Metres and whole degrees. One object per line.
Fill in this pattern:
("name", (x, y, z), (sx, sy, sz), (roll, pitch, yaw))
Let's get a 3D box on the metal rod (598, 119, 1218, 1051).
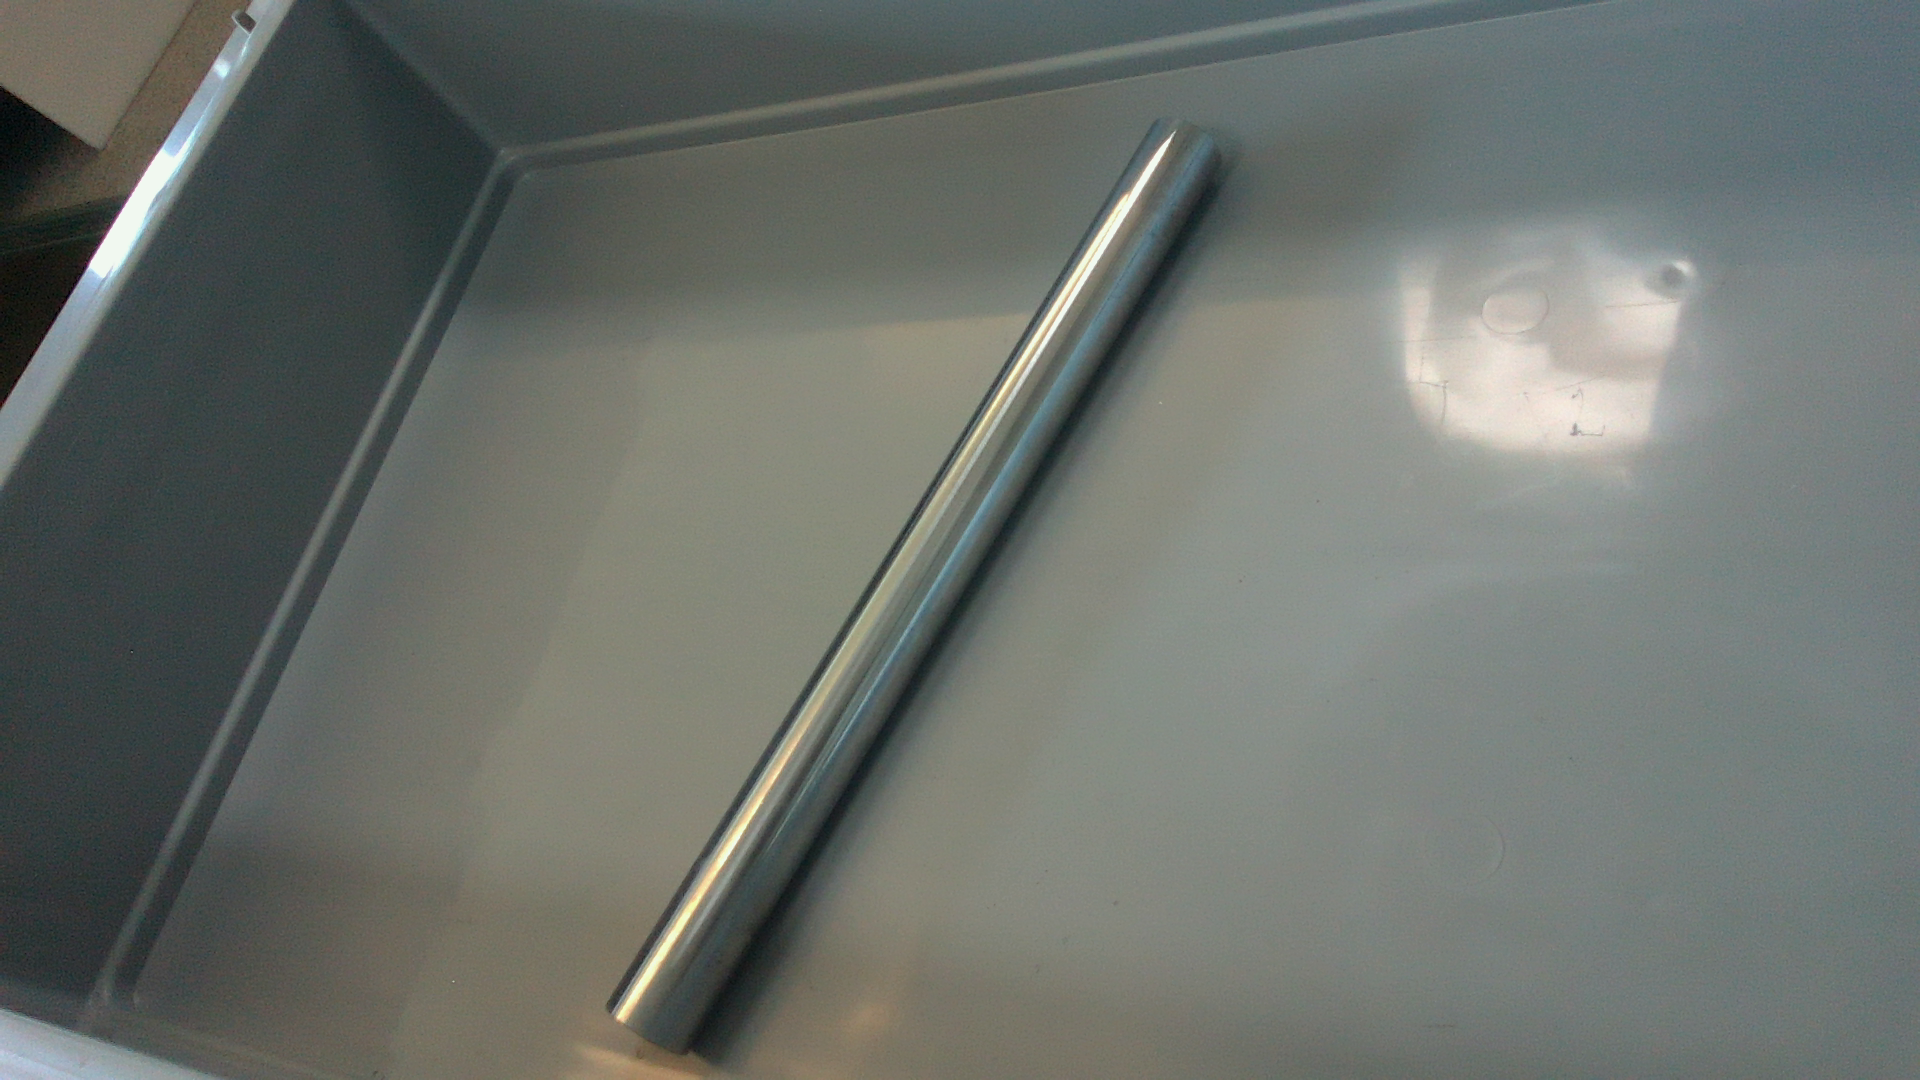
("metal rod", (-0.007, 0.002, 0.394), (0.025, 0.025, 0.300), (21, 73, 36))
